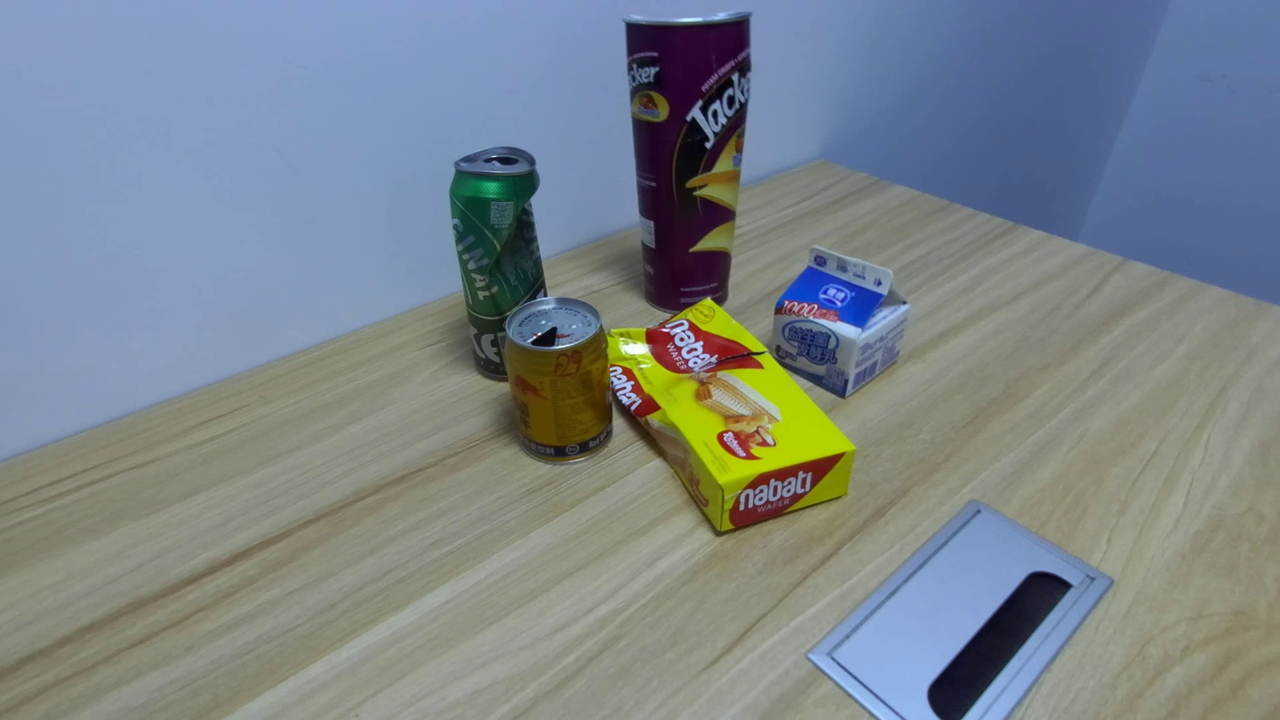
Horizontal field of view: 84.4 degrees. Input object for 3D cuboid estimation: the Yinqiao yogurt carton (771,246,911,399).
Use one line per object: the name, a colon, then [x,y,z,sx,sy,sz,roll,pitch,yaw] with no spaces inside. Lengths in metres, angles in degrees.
Yinqiao yogurt carton: [0.150,-0.036,0.526,0.074,0.092,0.075,-28,42,-34]

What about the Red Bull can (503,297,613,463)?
Red Bull can: [-0.053,0.013,0.466,0.067,0.093,0.067,-1,36,1]

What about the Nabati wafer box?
Nabati wafer box: [0.046,0.025,0.488,0.107,0.042,0.203,-13,36,-17]

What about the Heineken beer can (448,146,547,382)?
Heineken beer can: [-0.101,-0.066,0.521,0.078,0.164,0.065,-21,40,-30]

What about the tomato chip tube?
tomato chip tube: [0.040,-0.155,0.576,0.077,0.235,0.076,20,40,28]
